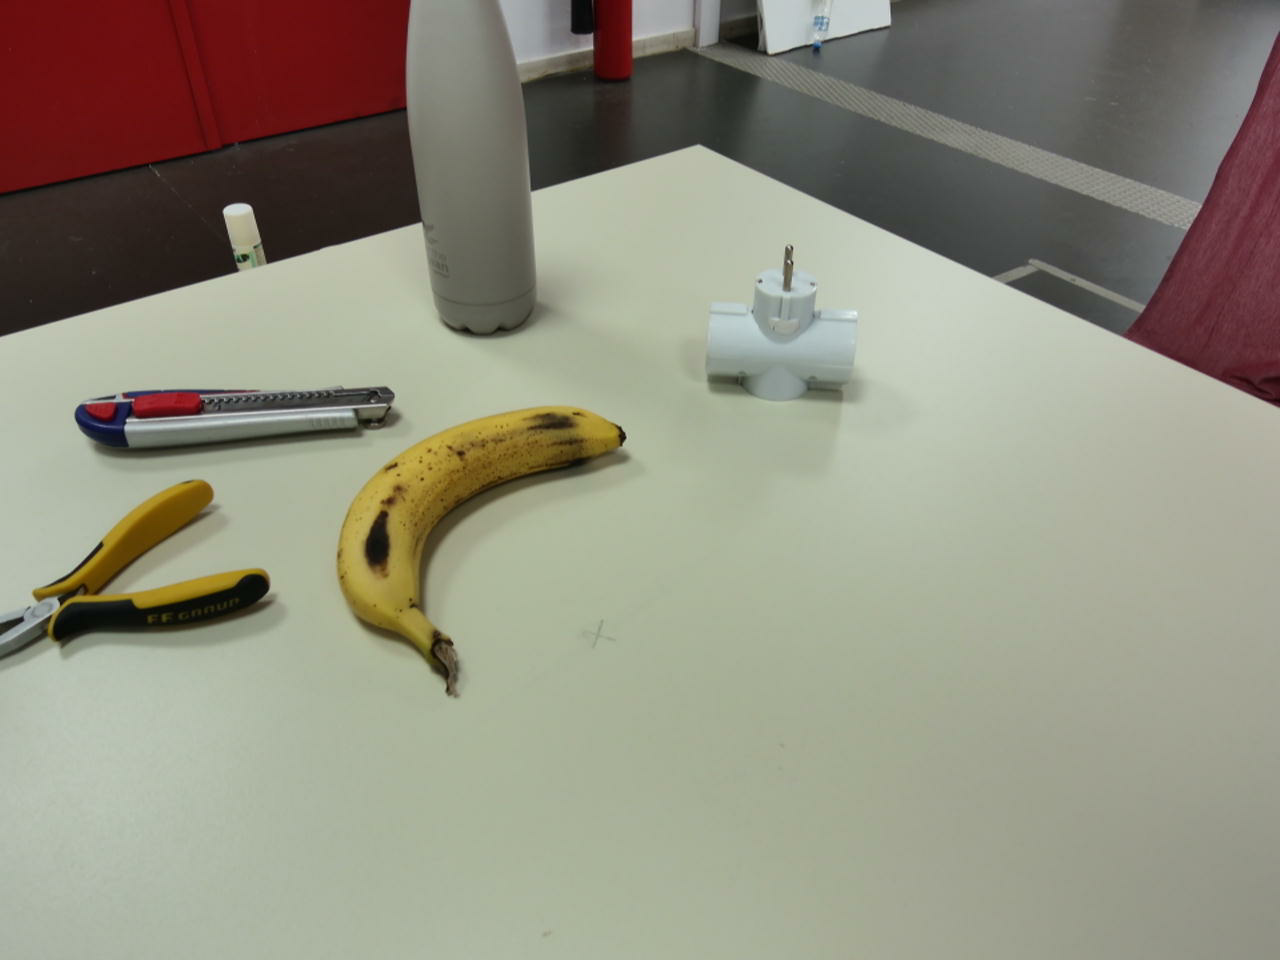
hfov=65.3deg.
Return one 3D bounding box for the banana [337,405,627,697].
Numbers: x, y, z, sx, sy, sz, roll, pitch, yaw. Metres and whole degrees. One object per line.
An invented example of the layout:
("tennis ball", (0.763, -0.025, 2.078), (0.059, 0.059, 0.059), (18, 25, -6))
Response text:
("banana", (-0.087, 0.012, 0.508), (0.097, 0.038, 0.186), (15, 40, 18))
